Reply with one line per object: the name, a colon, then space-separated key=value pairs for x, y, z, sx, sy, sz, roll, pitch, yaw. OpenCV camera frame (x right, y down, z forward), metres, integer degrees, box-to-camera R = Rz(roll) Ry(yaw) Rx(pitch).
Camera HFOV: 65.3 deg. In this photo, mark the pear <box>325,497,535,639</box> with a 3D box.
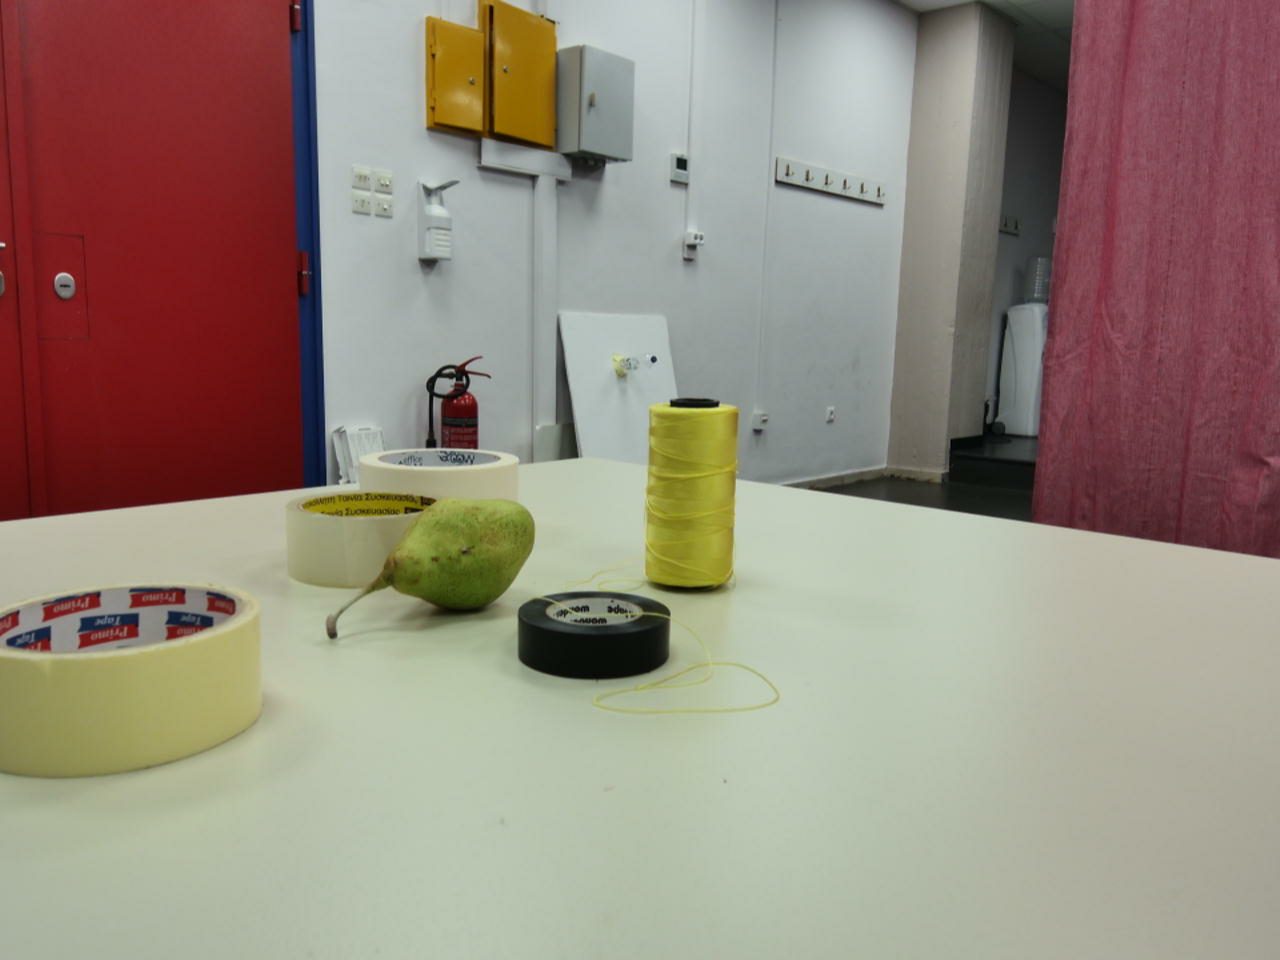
pear: x=-0.105 y=0.038 z=0.488 sx=0.111 sy=0.056 sz=0.056 roll=-4 pitch=8 yaw=-33
